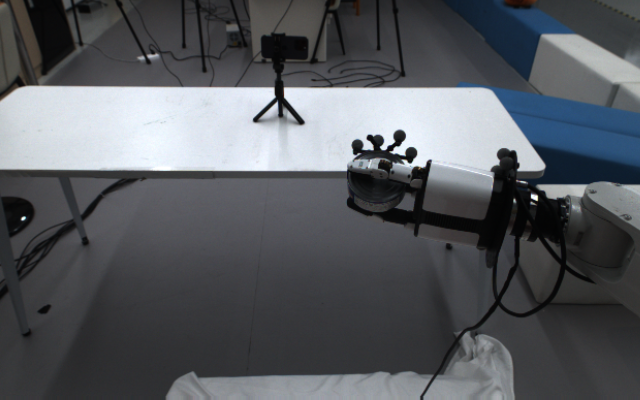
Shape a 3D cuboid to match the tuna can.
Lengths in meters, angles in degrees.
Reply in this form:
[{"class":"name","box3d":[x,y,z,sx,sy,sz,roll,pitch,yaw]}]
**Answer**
[{"class":"tuna can","box3d":[0.081,-0.031,0.682,0.085,0.034,0.085,-2,56,3]}]
